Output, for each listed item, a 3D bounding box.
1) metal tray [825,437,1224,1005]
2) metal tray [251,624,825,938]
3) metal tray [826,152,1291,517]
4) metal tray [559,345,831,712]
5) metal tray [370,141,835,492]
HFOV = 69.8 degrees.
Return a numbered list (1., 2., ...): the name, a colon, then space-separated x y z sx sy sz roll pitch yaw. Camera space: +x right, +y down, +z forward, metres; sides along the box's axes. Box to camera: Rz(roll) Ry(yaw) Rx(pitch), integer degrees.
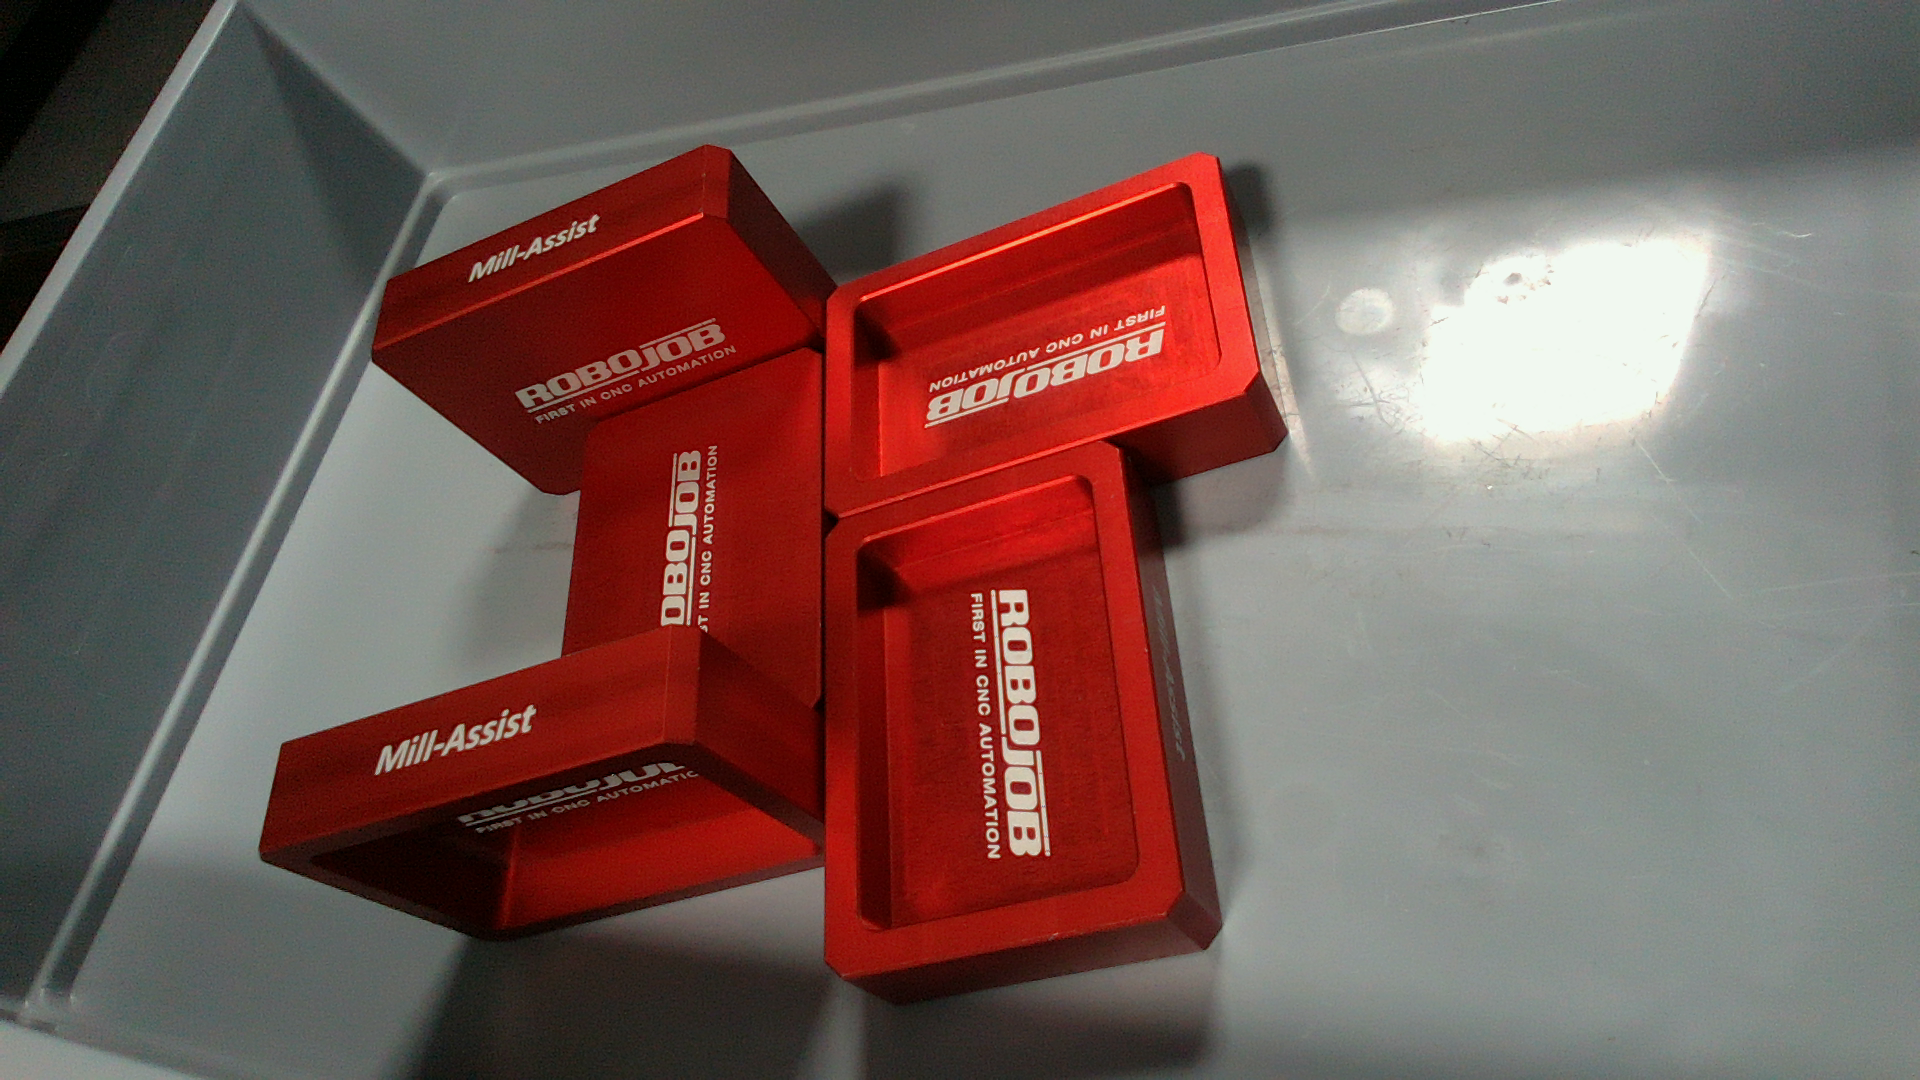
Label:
1. metal tray: 0.012 0.044 0.355 0.090 0.030 0.130 -16 55 19
2. metal tray: -0.102 0.069 0.362 0.130 0.090 0.030 -16 55 19
3. metal tray: 0.024 -0.054 0.409 0.130 0.030 0.090 -16 55 19
4. metal tray: -0.075 0.010 0.422 0.090 0.030 0.130 -16 55 19
5. metal tray: -0.110 -0.067 0.449 0.130 0.090 0.030 -17 55 19
